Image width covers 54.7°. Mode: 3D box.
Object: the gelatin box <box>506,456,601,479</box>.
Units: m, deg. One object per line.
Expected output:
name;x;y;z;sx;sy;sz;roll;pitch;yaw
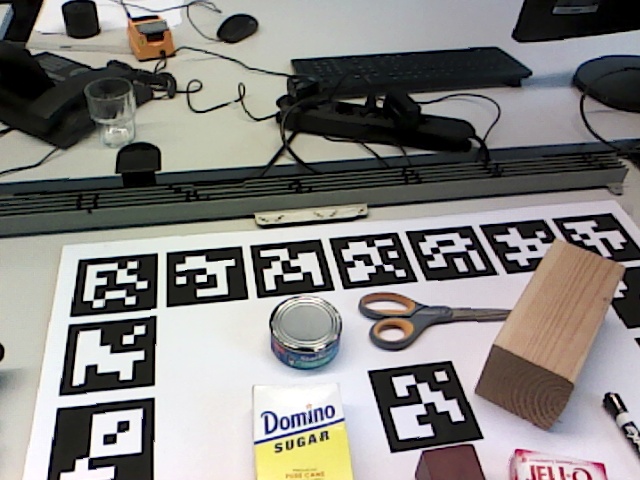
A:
gelatin box;0.231;0.257;0.606;0.089;0.030;0.073;8;44;6

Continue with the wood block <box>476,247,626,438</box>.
wood block;0.274;0.112;0.724;0.090;0.091;0.205;26;47;24

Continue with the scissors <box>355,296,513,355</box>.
scissors;0.147;0.104;0.777;0.203;0.016;0.088;-1;43;-1

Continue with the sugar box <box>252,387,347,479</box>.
sugar box;-0.020;0.232;0.613;0.093;0.045;0.177;-1;43;-5

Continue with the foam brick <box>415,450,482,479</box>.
foam brick;0.127;0.249;0.589;0.052;0.051;0.078;-4;44;-6

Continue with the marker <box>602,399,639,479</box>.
marker;0.332;0.223;0.652;0.019;0.019;0.121;-4;46;-7

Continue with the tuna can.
tuna can;-0.022;0.116;0.740;0.086;0.033;0.086;1;44;-1
